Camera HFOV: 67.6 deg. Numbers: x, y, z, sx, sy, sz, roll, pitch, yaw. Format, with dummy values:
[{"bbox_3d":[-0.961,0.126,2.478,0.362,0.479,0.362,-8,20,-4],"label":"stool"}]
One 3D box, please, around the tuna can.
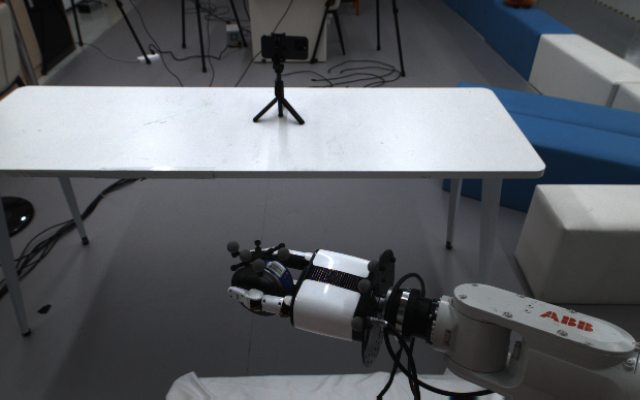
[{"bbox_3d":[-0.080,0.122,0.697,0.085,0.085,0.034,14,29,17],"label":"tuna can"}]
